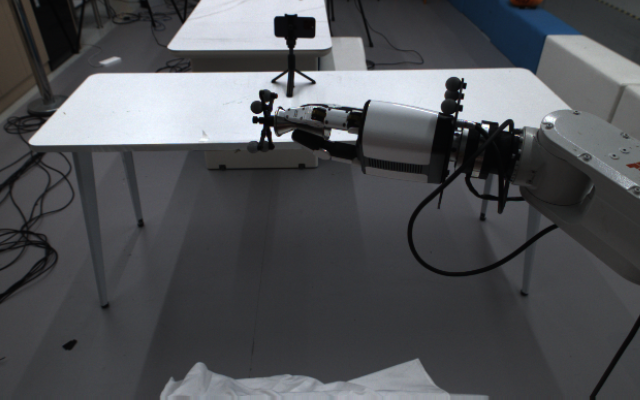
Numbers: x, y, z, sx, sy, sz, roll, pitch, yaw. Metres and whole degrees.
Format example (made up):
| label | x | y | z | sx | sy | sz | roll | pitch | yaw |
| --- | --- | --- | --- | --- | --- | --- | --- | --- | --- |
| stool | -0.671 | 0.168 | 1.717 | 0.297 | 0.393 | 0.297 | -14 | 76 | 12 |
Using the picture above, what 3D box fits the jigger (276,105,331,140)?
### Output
| label | x | y | z | sx | sy | sz | roll | pitch | yaw |
| --- | --- | --- | --- | --- | --- | --- | --- | --- | --- |
| jigger | -0.016 | -0.105 | 0.637 | 0.071 | 0.043 | 0.043 | 5 | 34 | 14 |
